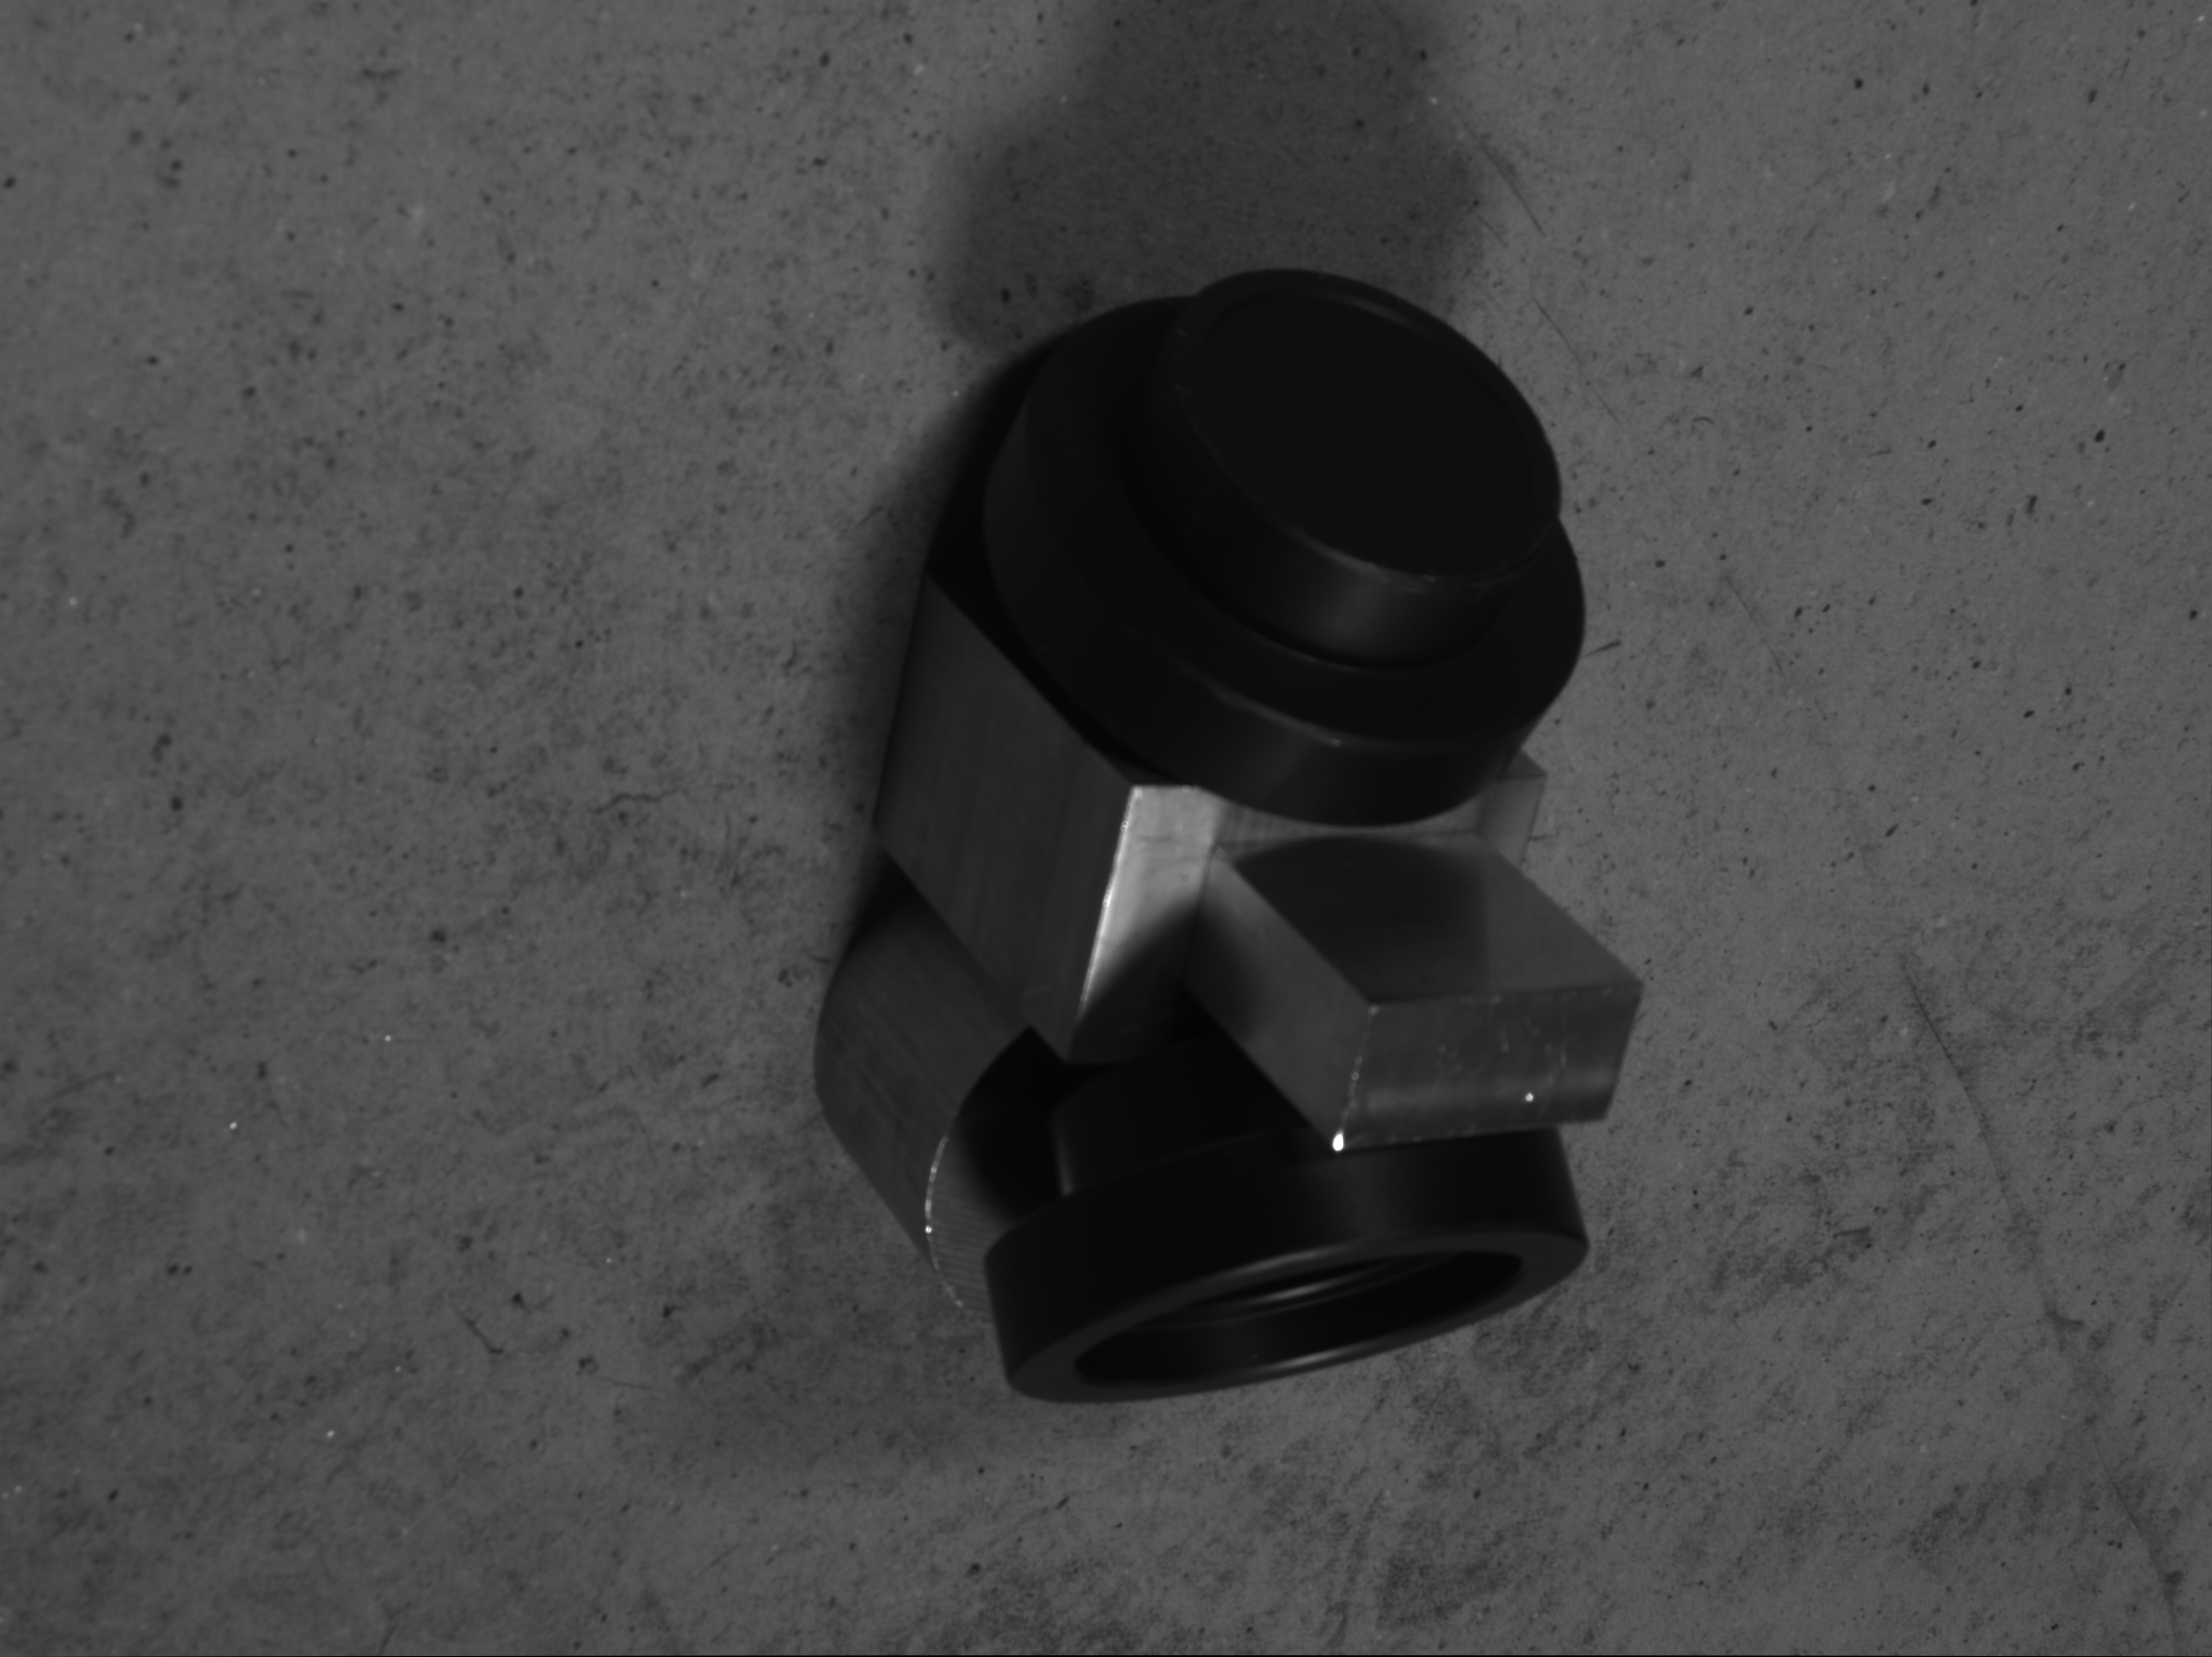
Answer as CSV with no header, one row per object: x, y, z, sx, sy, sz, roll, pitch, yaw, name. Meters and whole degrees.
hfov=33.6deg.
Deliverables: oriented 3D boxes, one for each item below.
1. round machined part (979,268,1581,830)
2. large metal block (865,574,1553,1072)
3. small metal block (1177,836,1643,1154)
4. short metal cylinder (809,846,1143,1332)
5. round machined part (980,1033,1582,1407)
0.033,-0.051,0.586,0.098,0.098,0.042,-2,144,-29,round machined part
0.015,-0.003,0.621,0.080,0.080,0.050,-2,119,-29,large metal block
0.047,0.025,0.572,0.050,0.050,0.025,-3,119,-29,small metal block
-0.007,0.046,0.661,0.080,0.050,0.080,-15,125,-22,short metal cylinder
0.026,0.062,0.607,0.098,0.042,0.098,-12,160,-4,round machined part
